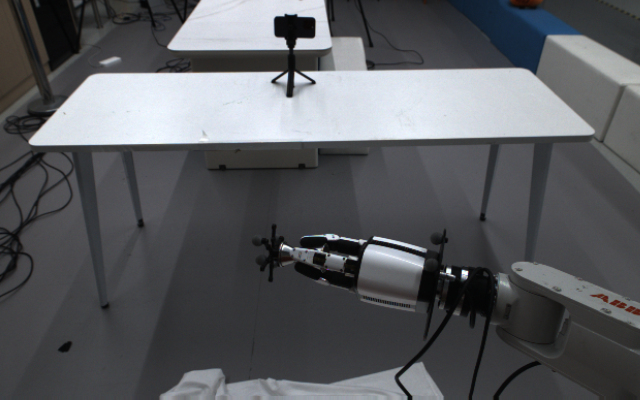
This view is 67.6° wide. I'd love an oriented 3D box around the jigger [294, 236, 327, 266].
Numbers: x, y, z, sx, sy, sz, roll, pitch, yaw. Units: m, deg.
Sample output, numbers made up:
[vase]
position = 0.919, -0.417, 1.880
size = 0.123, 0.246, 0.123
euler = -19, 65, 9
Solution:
[jigger]
position = -0.016, 0.079, 0.729
size = 0.071, 0.043, 0.043
euler = 2, 34, 16
